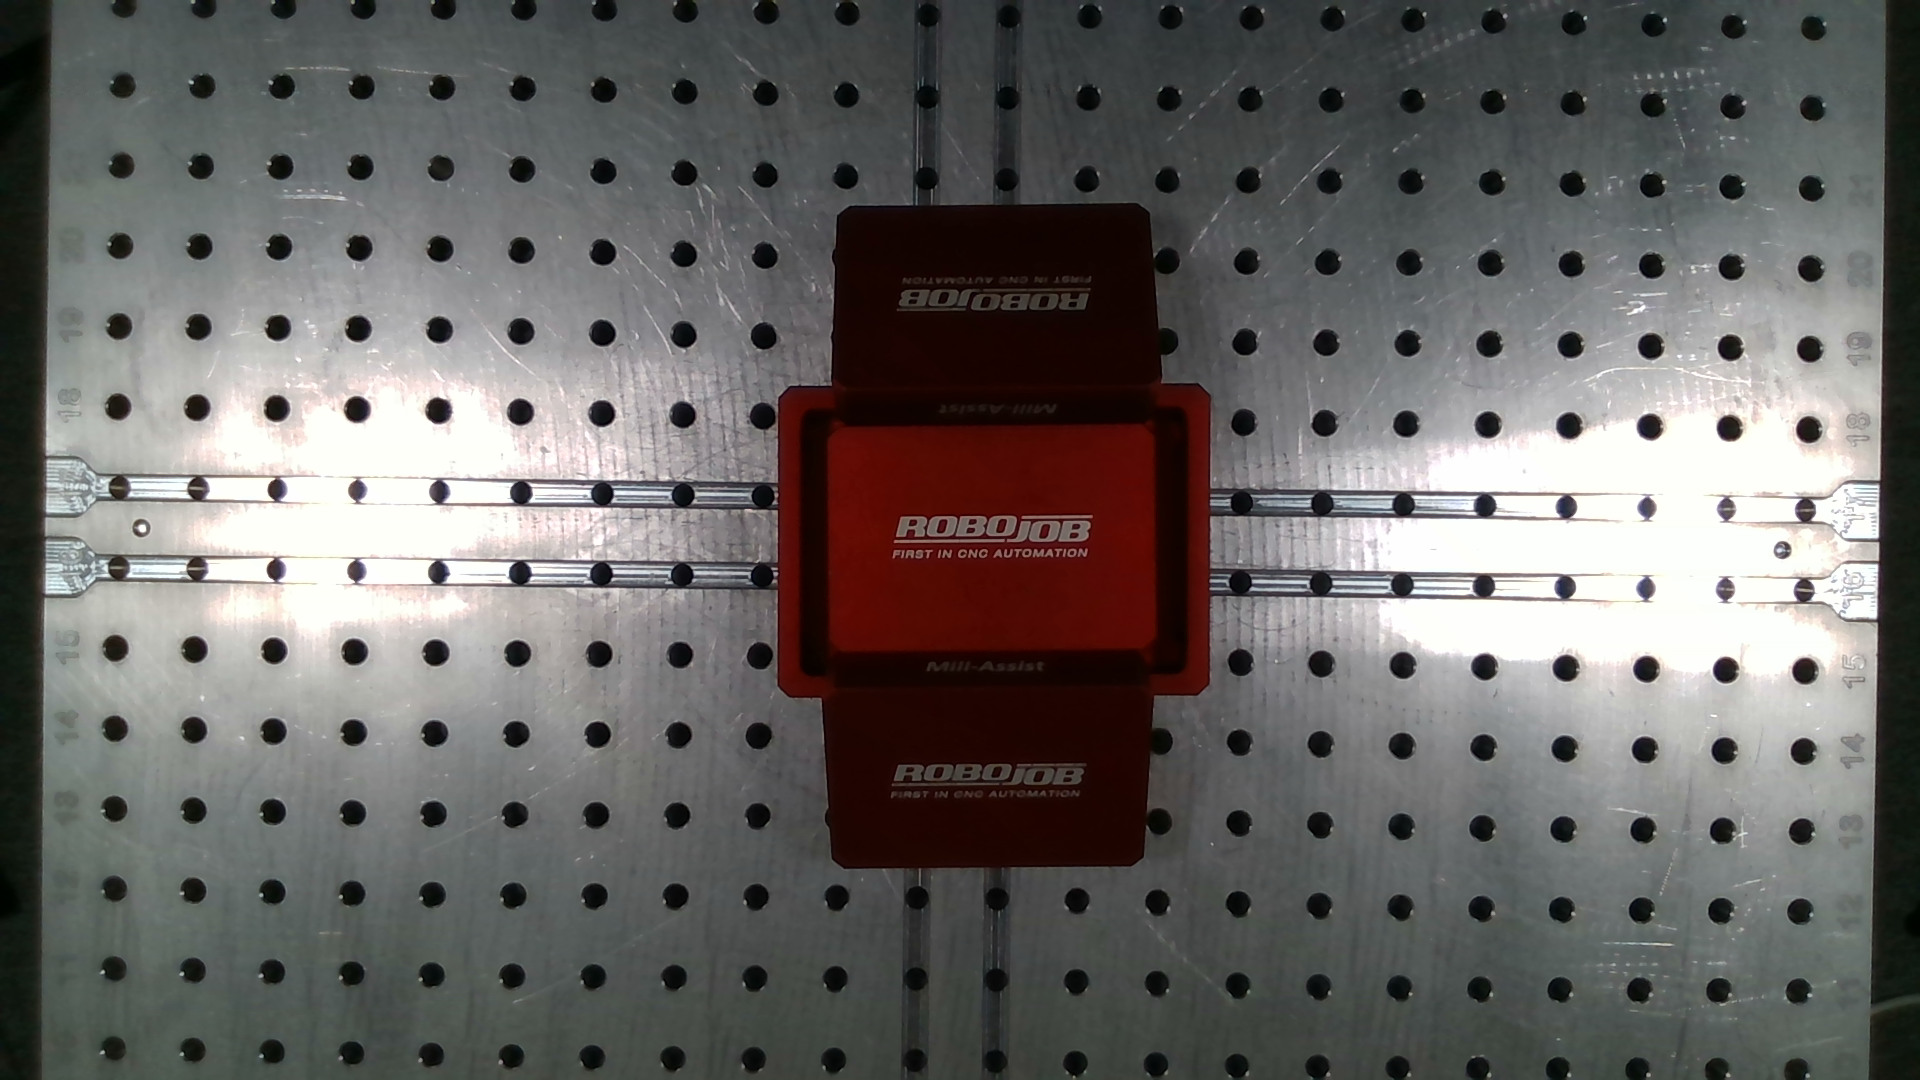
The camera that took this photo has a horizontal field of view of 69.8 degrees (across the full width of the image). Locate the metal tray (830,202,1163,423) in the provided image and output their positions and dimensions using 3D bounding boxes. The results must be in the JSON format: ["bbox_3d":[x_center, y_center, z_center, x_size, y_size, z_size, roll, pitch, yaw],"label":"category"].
[{"bbox_3d":[0.014,-0.094,0.568,0.130,0.030,0.090,0,64,0],"label":"metal tray"}]

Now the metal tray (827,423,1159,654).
[{"bbox_3d":[0.013,-0.001,0.556,0.130,0.030,0.090,-1,90,0],"label":"metal tray"}]

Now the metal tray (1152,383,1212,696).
[{"bbox_3d":[0.059,0.000,0.587,0.090,0.030,0.130,0,91,0],"label":"metal tray"}]

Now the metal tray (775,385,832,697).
[{"bbox_3d":[-0.032,0.001,0.587,0.090,0.030,0.130,0,91,0],"label":"metal tray"}]

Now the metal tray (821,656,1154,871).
[{"bbox_3d":[0.011,0.092,0.569,0.130,0.030,0.090,-1,118,0],"label":"metal tray"}]
